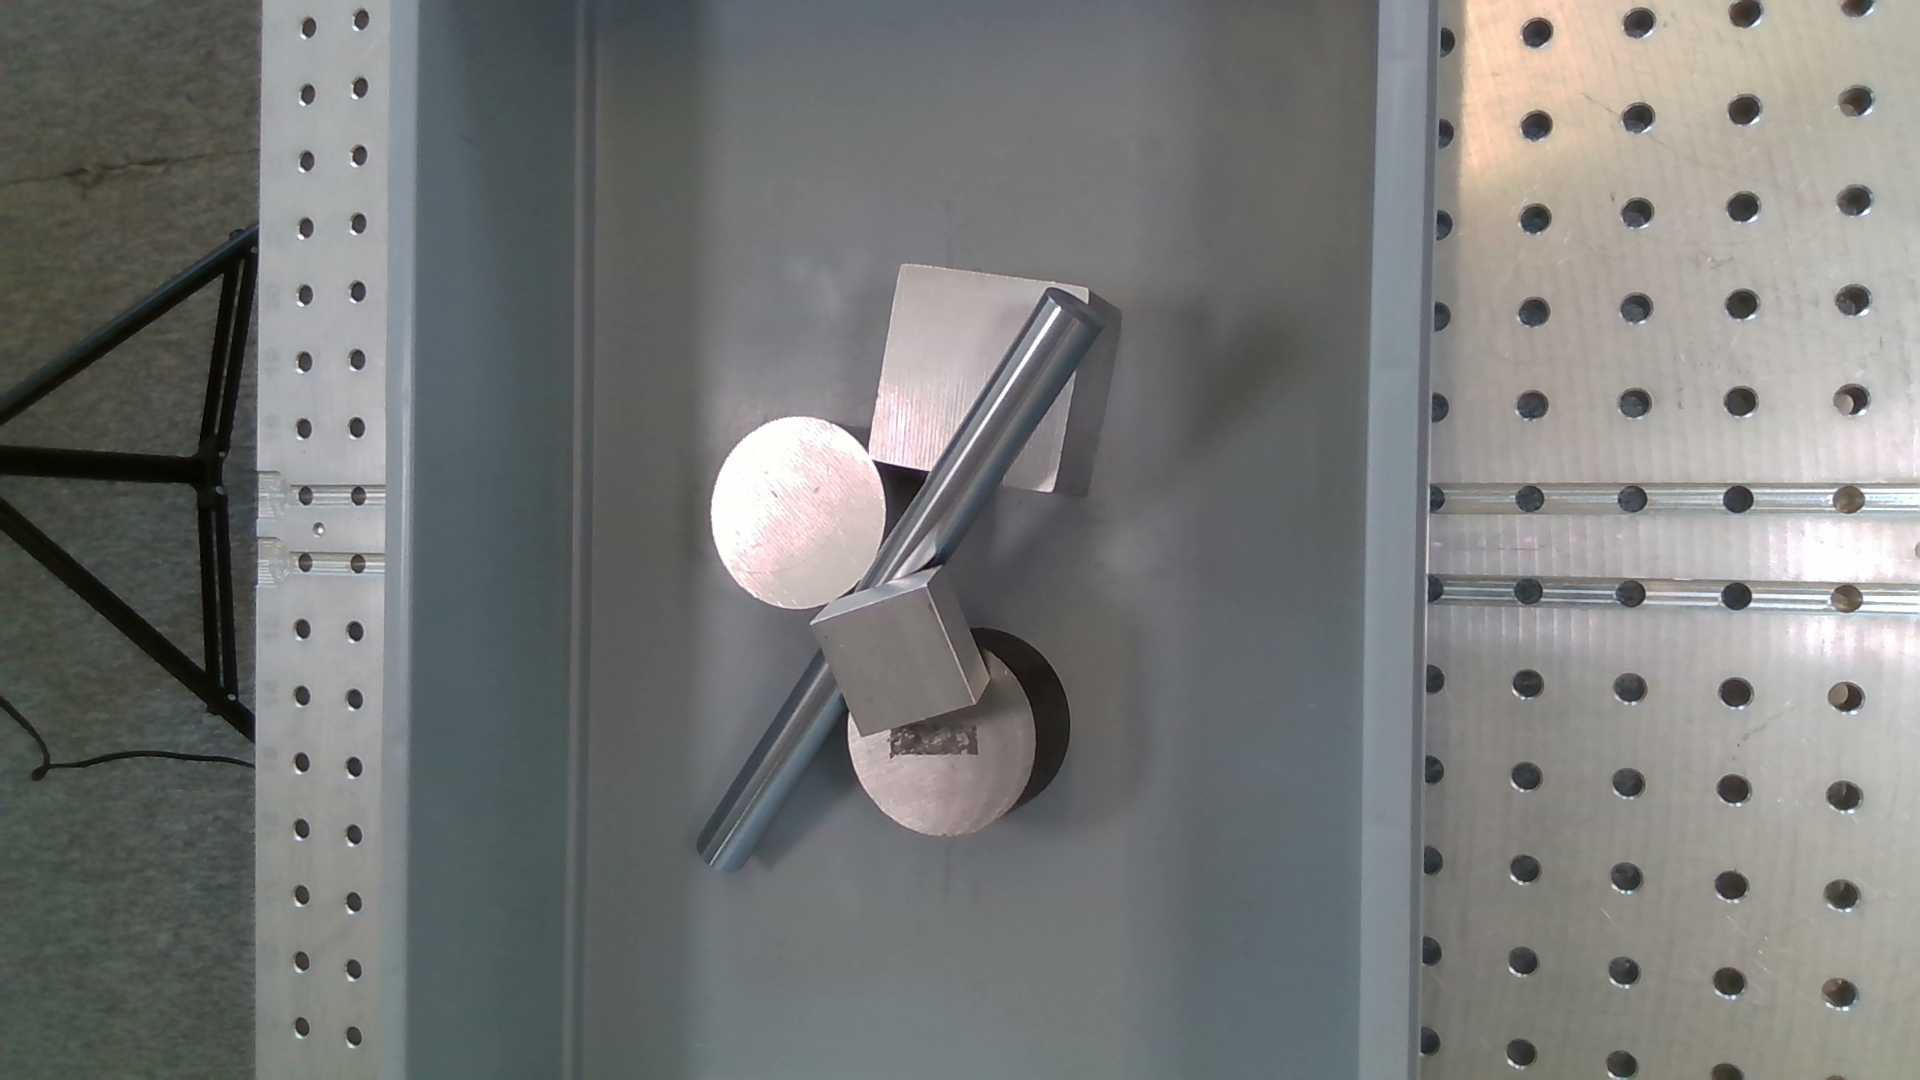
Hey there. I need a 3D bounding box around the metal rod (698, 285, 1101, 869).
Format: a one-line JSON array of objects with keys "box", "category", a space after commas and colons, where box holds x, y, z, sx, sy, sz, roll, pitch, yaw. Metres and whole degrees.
[{"box": [-0.034, 0.028, 0.560, 0.025, 0.025, 0.301, 41, 118, 15], "category": "metal rod"}]

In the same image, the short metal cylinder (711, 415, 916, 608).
[{"box": [-0.059, -0.012, 0.593, 0.080, 0.050, 0.080, 0, 91, 20], "category": "short metal cylinder"}]

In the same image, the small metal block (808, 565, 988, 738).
[{"box": [-0.023, 0.043, 0.533, 0.050, 0.025, 0.050, -19, 102, 19], "category": "small metal block"}]

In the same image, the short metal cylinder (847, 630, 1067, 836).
[{"box": [0.000, 0.078, 0.572, 0.080, 0.050, 0.080, 0, 91, 20], "category": "short metal cylinder"}]

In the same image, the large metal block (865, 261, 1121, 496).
[{"box": [0.014, -0.065, 0.563, 0.080, 0.050, 0.080, 12, 94, 20], "category": "large metal block"}]
